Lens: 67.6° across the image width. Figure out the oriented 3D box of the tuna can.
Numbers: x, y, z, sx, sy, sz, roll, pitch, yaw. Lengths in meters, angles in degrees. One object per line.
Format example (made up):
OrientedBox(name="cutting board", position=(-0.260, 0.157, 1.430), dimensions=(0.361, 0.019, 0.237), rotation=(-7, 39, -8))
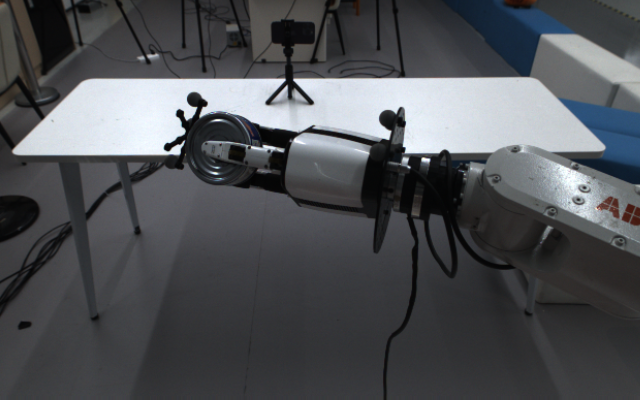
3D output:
OrientedBox(name="tuna can", position=(-0.108, -0.054, 0.563), dimensions=(0.085, 0.085, 0.034), rotation=(12, 5, 14))
